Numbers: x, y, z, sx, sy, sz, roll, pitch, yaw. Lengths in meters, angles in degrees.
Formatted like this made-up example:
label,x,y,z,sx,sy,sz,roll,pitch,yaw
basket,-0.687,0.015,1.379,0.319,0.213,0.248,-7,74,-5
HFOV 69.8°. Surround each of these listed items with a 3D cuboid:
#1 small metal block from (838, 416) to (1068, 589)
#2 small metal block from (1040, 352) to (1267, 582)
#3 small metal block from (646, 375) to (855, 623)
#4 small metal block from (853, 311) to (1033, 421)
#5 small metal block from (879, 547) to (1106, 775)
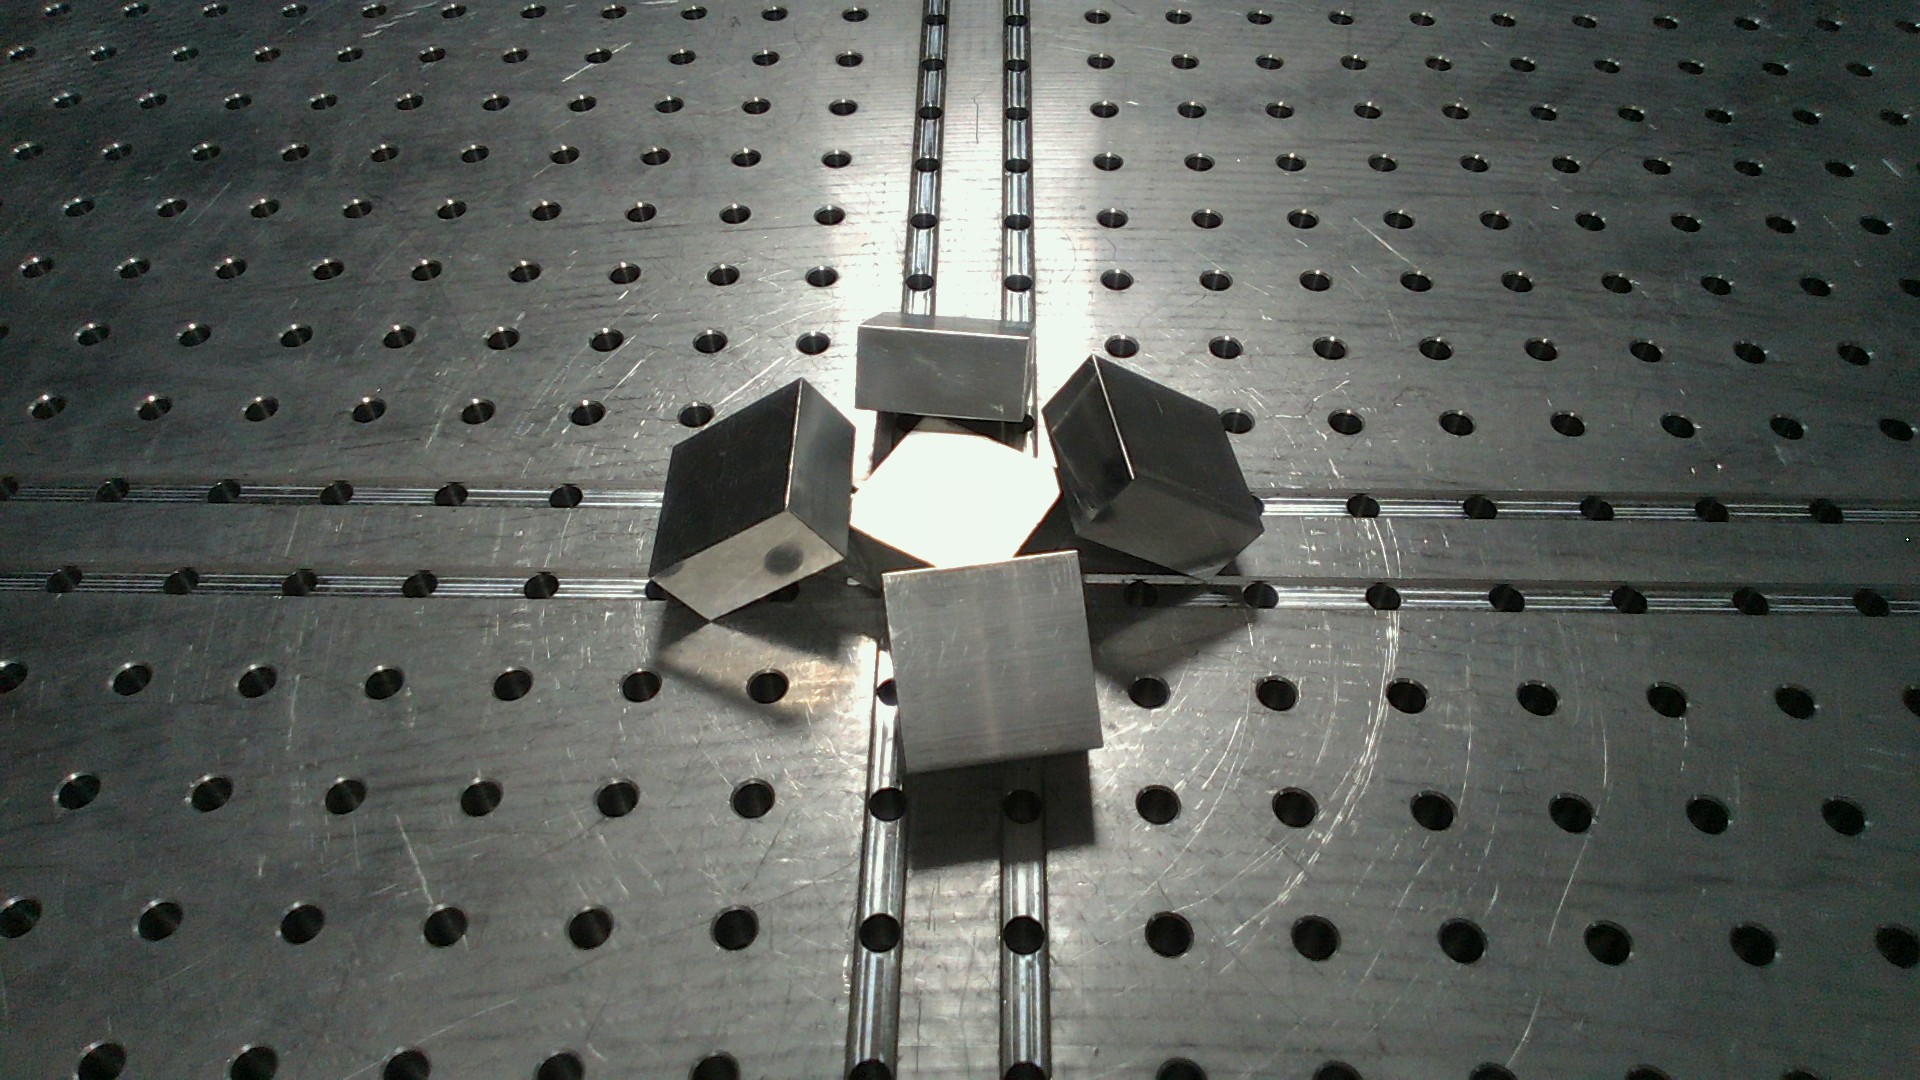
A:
label,x,y,z,sx,sy,sz,roll,pitch,yaw
small metal block,-0.001,-0.005,0.398,0.050,0.025,0.050,25,54,20
small metal block,0.055,-0.021,0.397,0.050,0.025,0.050,18,41,-32
small metal block,-0.058,-0.011,0.389,0.050,0.025,0.050,-24,44,26
small metal block,-0.004,-0.055,0.424,0.050,0.025,0.050,4,14,4
small metal block,0.007,0.031,0.352,0.050,0.025,0.050,-7,86,-6
